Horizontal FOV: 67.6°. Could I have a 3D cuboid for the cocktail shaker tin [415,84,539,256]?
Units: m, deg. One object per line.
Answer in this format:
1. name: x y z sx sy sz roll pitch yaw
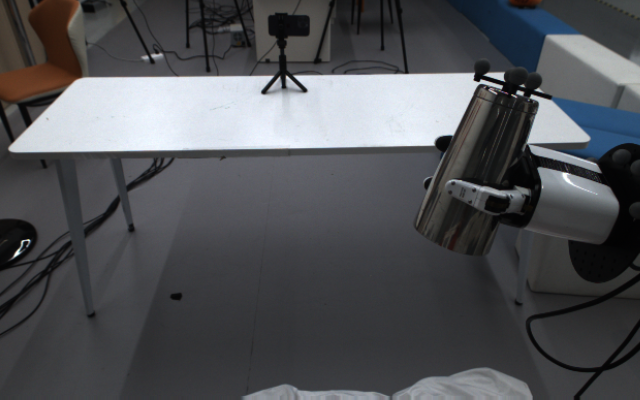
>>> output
1. cocktail shaker tin: 0.177 -0.036 0.539 0.093 0.170 0.093 14 19 -5
